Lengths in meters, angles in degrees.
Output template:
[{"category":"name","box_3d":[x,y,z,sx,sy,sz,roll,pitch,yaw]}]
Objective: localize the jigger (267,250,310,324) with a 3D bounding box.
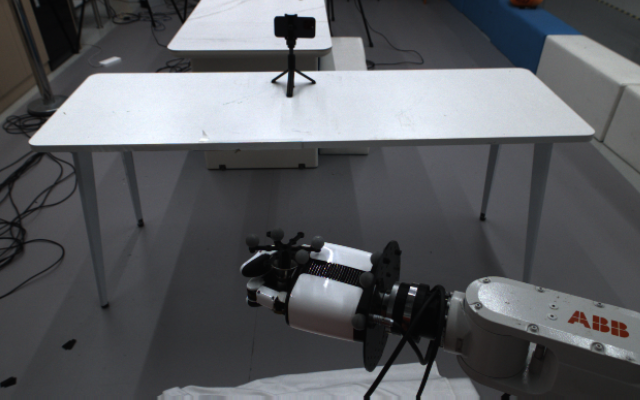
[{"category":"jigger","box_3d":[-0.042,0.105,0.630,0.043,0.071,0.043,3,25,-1]}]
